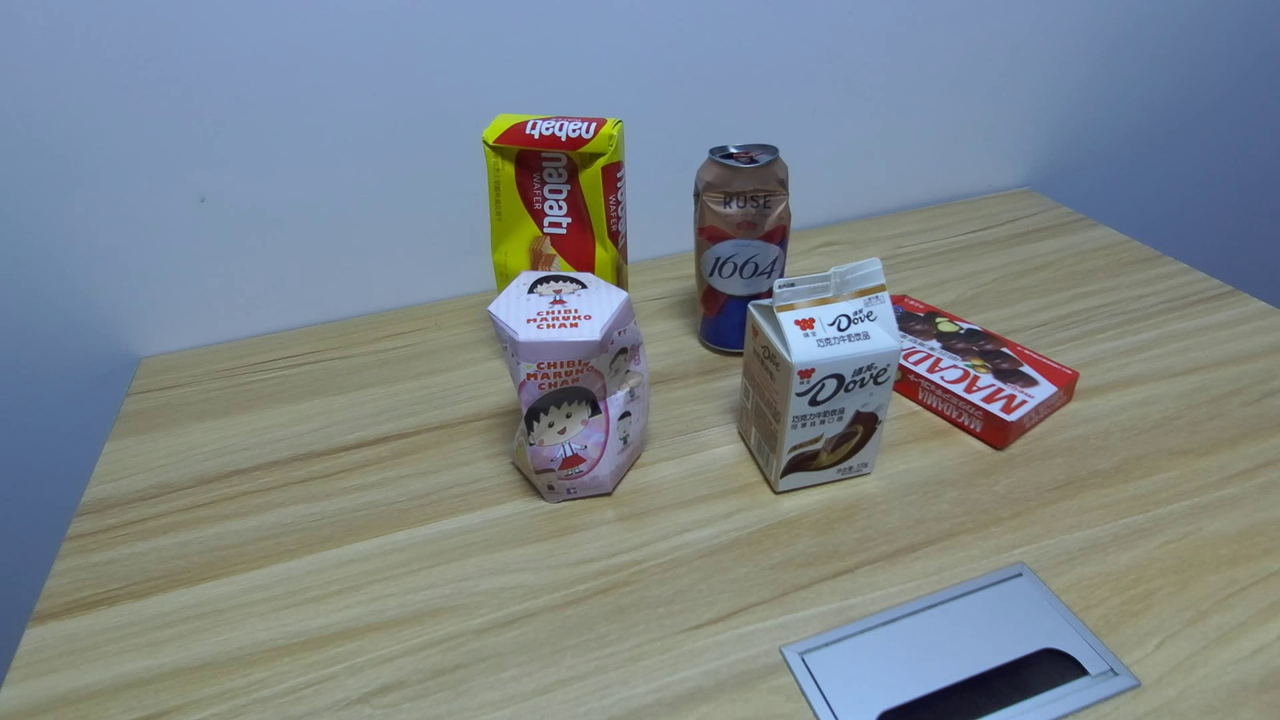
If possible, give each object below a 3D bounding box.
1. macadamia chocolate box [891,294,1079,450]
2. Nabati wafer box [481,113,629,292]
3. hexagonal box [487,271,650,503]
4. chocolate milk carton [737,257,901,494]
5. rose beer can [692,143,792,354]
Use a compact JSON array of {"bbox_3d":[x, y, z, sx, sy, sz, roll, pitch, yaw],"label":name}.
[{"bbox_3d":[0.238,-0.005,0.571,0.103,0.027,0.186,-24,41,-29],"label":"macadamia chocolate box"},{"bbox_3d":[-0.059,-0.076,0.535,0.096,0.203,0.042,7,34,11],"label":"Nabati wafer box"},{"bbox_3d":[-0.050,0.019,0.462,0.089,0.135,0.093,-29,43,-32],"label":"hexagonal box"},{"bbox_3d":[0.113,0.004,0.456,0.075,0.148,0.074,-9,36,-12],"label":"chocolate milk carton"},{"bbox_3d":[0.082,-0.087,0.571,0.075,0.167,0.065,5,34,15],"label":"rose beer can"}]
